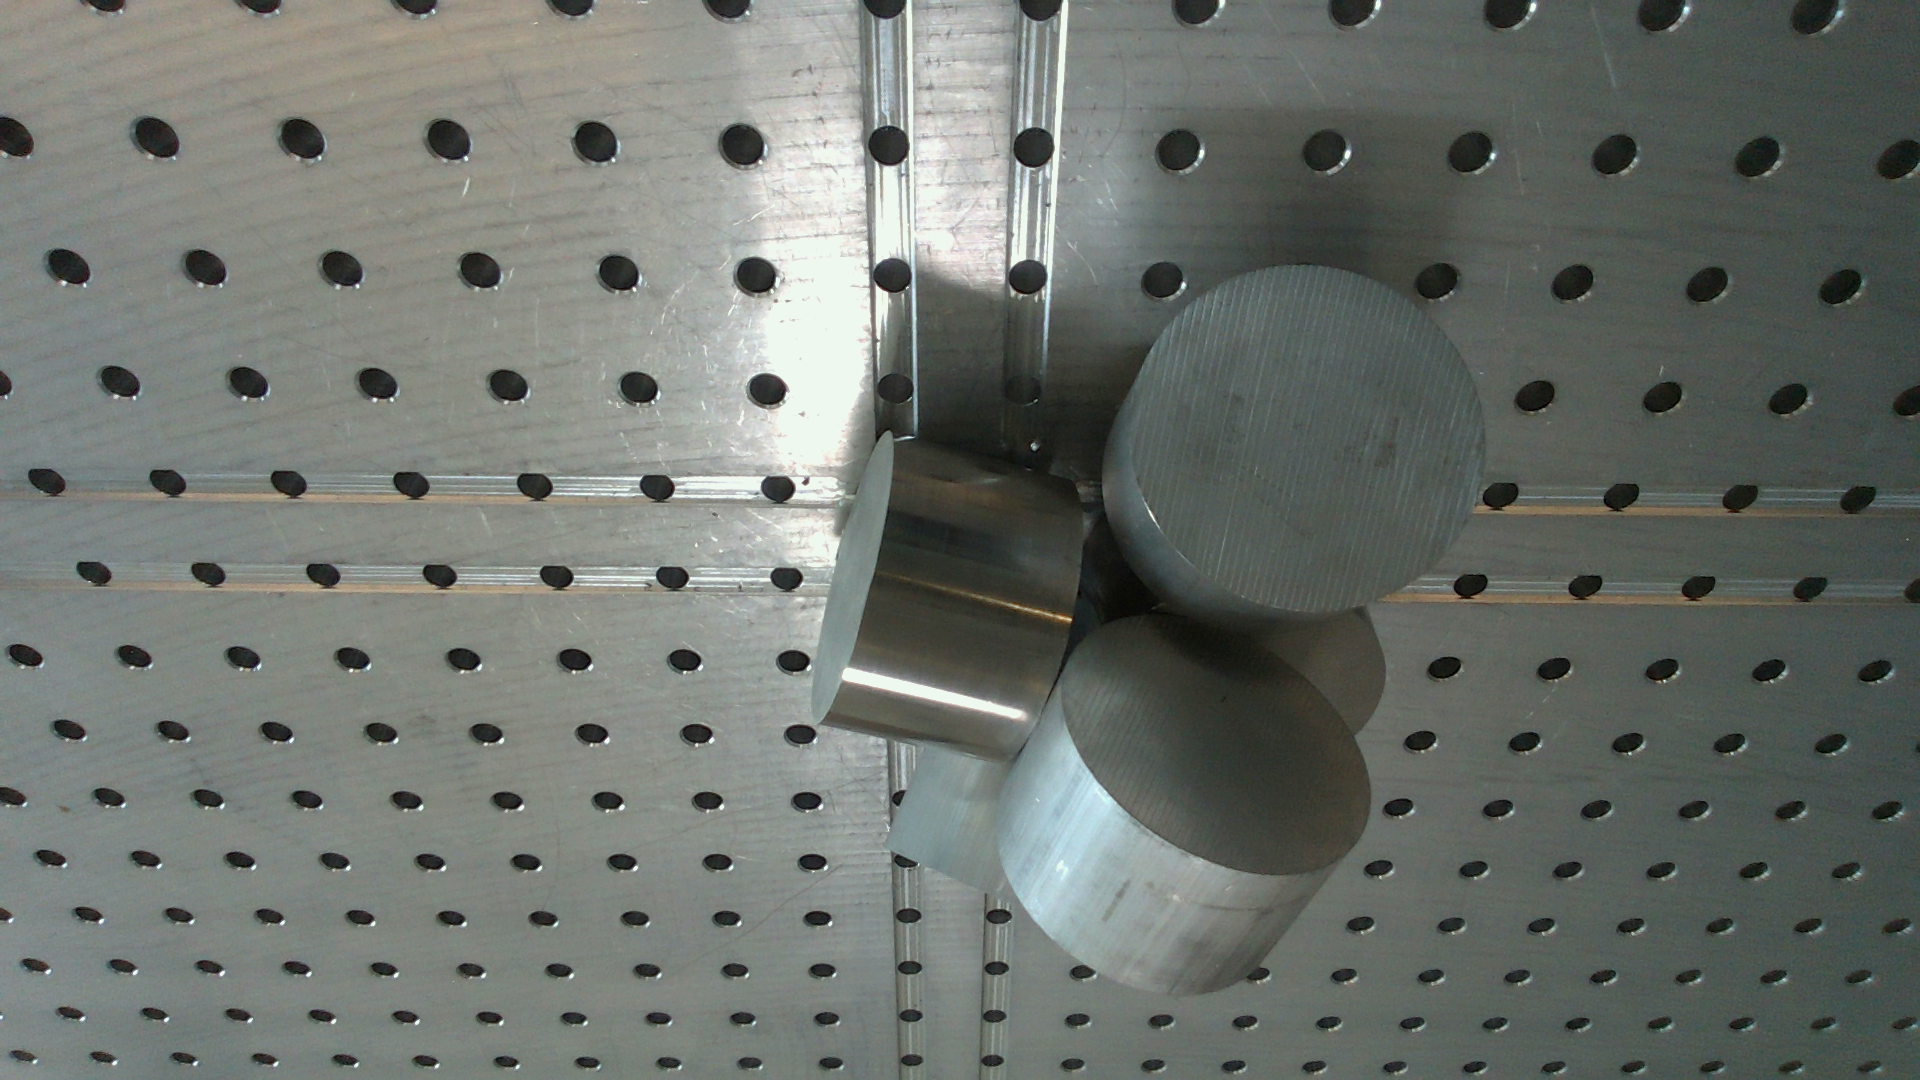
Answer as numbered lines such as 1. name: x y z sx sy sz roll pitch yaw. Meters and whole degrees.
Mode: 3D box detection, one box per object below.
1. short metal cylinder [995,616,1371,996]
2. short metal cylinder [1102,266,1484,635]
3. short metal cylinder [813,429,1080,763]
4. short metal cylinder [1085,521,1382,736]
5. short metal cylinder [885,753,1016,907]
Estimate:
1. short metal cylinder: 0.055 0.065 0.347 0.080 0.080 0.050 13 129 -11
2. short metal cylinder: 0.077 -0.019 0.333 0.080 0.080 0.050 1 170 -1
3. short metal cylinder: -0.006 0.015 0.371 0.050 0.080 0.080 14 129 -12
4. short metal cylinder: 0.076 0.026 0.399 0.080 0.050 0.080 0 129 0
5. short metal cylinder: 0.022 0.087 0.423 0.080 0.050 0.080 22 168 5
